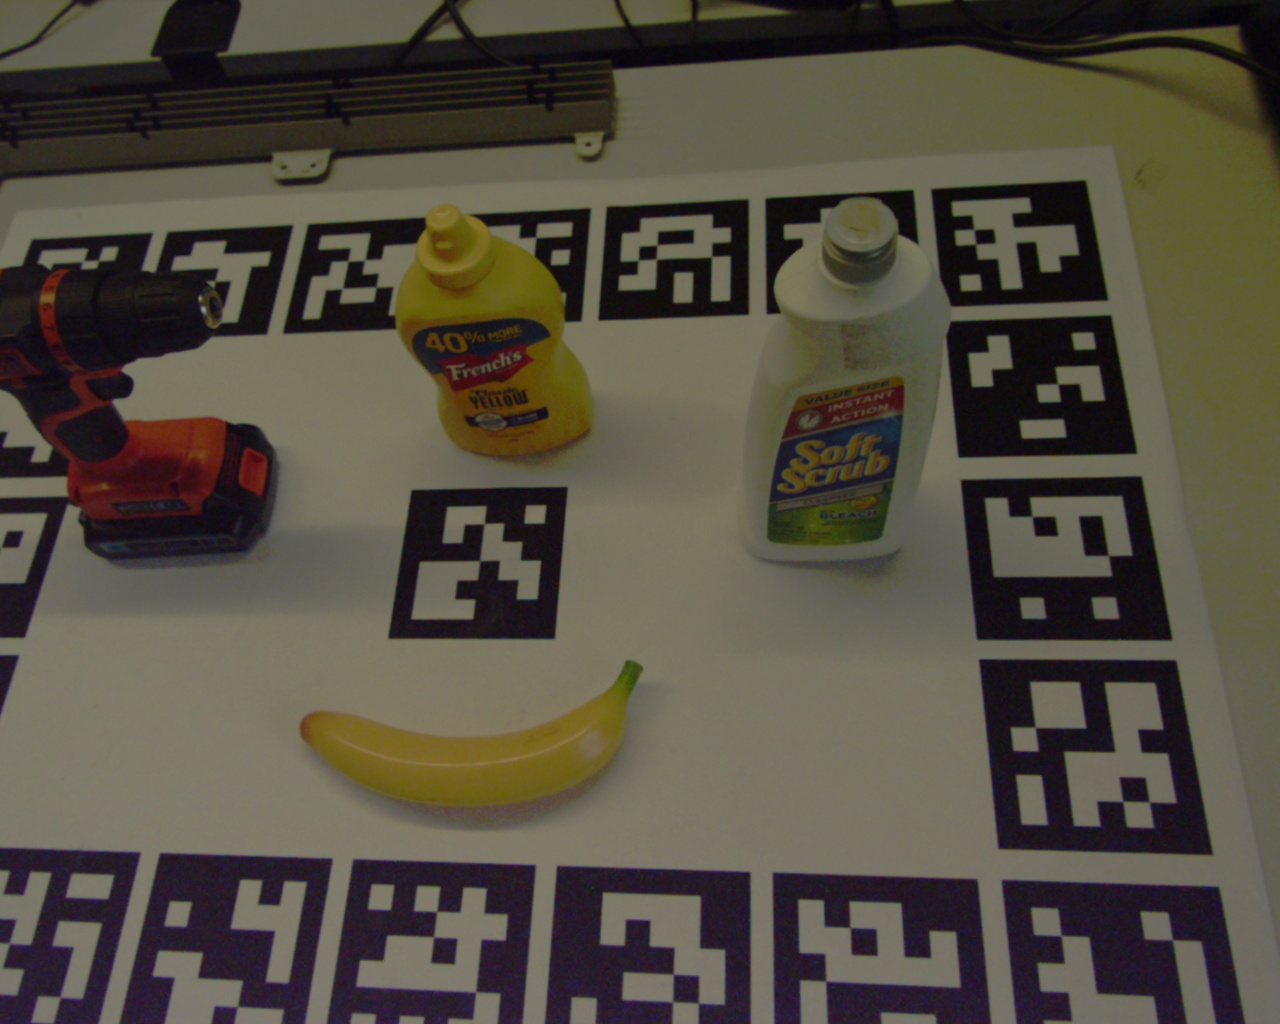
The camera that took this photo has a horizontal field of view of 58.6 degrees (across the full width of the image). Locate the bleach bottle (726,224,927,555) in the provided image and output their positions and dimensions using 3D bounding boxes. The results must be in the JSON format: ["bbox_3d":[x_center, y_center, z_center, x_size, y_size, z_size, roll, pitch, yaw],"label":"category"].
[{"bbox_3d":[0.093,-0.059,0.606,0.103,0.249,0.068,6,64,10],"label":"bleach bottle"}]

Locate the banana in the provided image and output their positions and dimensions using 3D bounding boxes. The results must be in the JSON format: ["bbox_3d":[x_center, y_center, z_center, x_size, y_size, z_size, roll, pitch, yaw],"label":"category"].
[{"bbox_3d":[-0.094,0.124,0.650,0.198,0.038,0.074,-7,64,8],"label":"banana"}]

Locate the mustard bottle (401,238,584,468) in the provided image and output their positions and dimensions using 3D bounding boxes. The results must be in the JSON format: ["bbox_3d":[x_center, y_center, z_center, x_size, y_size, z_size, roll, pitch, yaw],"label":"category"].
[{"bbox_3d":[-0.092,-0.097,0.690,0.096,0.190,0.059,-8,62,1],"label":"mustard bottle"}]

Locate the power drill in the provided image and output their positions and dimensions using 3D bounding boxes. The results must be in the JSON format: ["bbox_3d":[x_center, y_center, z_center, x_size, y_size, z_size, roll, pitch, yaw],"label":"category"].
[{"bbox_3d":[-0.284,-0.064,0.667,0.185,0.185,0.057,-8,62,8],"label":"power drill"}]
